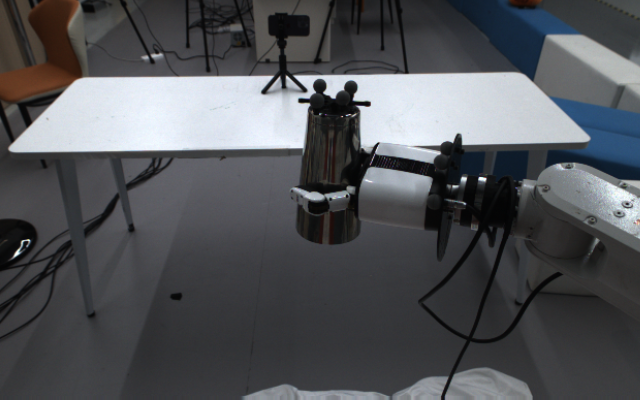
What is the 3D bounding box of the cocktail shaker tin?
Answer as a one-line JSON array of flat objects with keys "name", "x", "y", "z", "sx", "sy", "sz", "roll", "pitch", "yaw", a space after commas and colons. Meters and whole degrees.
[{"name": "cocktail shaker tin", "x": 0.016, "y": -0.038, "z": 0.638, "sx": 0.093, "sy": 0.170, "sz": 0.093, "roll": 2, "pitch": 28, "yaw": -1}]
